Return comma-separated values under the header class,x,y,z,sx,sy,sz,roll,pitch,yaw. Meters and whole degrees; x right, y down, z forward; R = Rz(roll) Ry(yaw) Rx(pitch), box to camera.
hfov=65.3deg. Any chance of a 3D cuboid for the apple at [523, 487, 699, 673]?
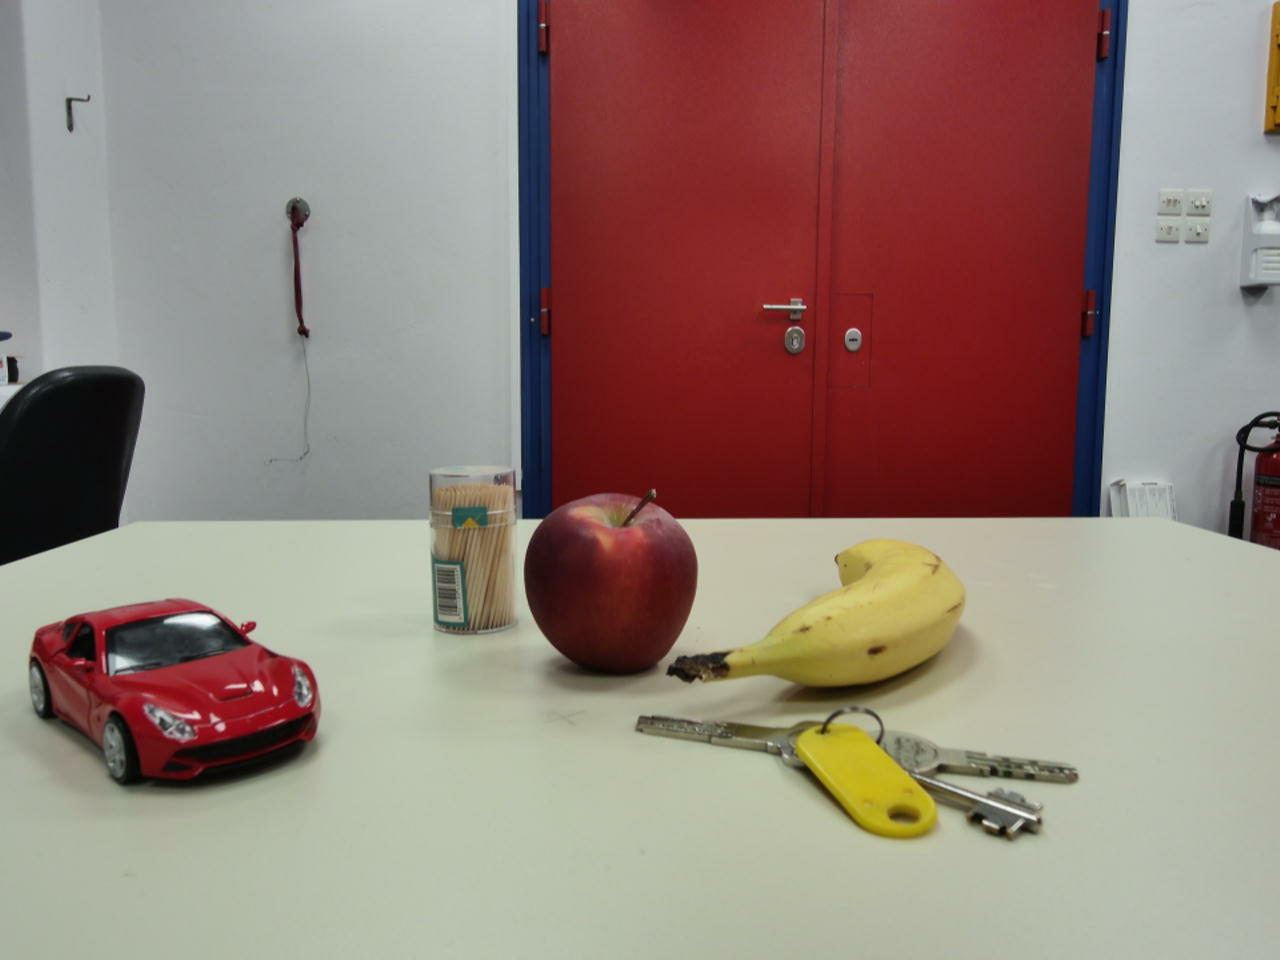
class,x,y,z,sx,sy,sz,roll,pitch,yaw
apple,-0.011,0.039,0.404,0.070,0.072,0.070,-1,4,0
